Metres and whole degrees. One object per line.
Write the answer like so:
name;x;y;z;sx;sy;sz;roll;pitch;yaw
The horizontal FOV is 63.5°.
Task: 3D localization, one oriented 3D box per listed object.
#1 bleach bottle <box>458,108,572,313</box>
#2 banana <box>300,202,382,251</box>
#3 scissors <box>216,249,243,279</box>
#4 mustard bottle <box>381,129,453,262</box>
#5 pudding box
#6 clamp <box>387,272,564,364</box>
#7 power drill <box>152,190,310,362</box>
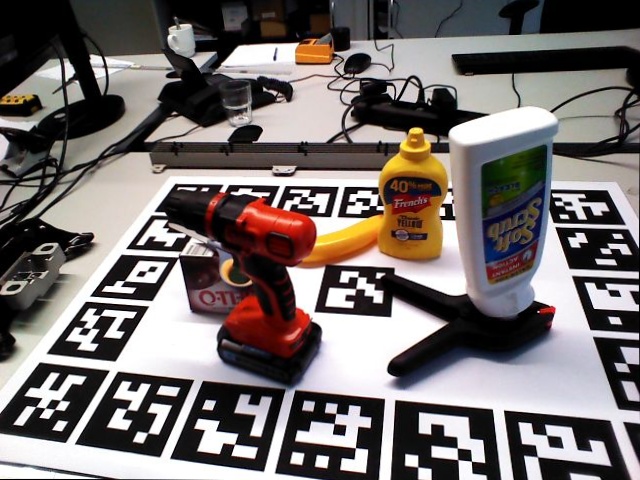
bleach bottle;0.208;-0.013;0.556;0.103;0.251;0.067;-14;32;2
banana;0.037;-0.021;0.789;0.197;0.039;0.074;-21;21;-19
scissors;-0.139;-0.011;0.658;0.203;0.016;0.087;23;49;28
mustard bottle;0.134;-0.061;0.716;0.097;0.192;0.058;12;40;23
pudding box;-0.126;0.046;0.689;0.114;0.090;0.038;5;31;15
clamp;0.180;0.080;0.613;0.203;0.037;0.164;0;38;6
power drill;-0.092;0.035;0.565;0.185;0.187;0.057;9;32;25
